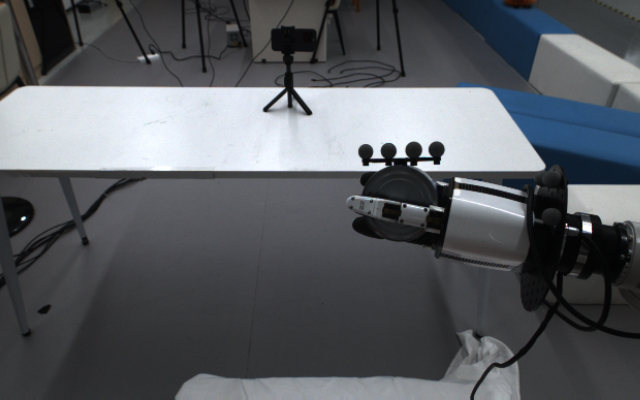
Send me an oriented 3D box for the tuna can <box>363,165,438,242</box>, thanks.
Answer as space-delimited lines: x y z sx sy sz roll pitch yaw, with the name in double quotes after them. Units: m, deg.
0.093 0.001 0.552 0.085 0.085 0.034 15 10 18 "tuna can"
